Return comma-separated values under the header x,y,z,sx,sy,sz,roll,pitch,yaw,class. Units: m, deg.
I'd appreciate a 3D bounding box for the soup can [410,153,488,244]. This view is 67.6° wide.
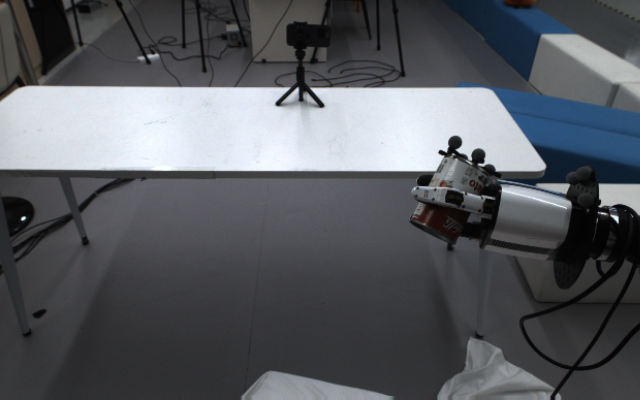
x,y,z,sx,sy,sz,roll,pitch,yaw,class
0.174,-0.002,0.647,0.067,0.101,0.067,28,-2,1,soup can
